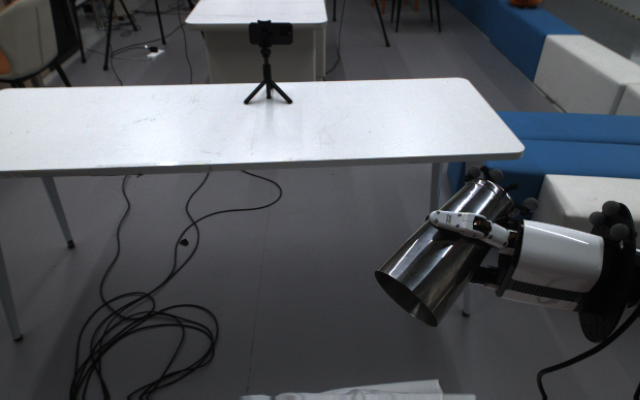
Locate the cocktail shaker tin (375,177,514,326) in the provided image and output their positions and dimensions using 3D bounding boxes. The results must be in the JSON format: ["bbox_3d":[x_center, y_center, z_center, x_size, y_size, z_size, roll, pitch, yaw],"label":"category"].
[{"bbox_3d":[0.155,0.049,0.575,0.170,0.093,0.093,-43,50,-15],"label":"cocktail shaker tin"}]
